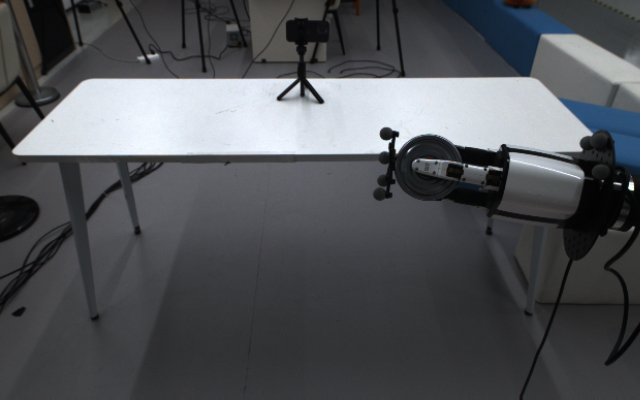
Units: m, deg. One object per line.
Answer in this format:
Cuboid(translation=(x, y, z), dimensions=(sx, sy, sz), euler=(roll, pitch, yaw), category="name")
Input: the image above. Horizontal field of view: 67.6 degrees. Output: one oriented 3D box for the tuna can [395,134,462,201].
Cuboid(translation=(0.141, -0.044, 0.626), dimensions=(0.085, 0.085, 0.034), euler=(10, 2, 11), category="tuna can")
